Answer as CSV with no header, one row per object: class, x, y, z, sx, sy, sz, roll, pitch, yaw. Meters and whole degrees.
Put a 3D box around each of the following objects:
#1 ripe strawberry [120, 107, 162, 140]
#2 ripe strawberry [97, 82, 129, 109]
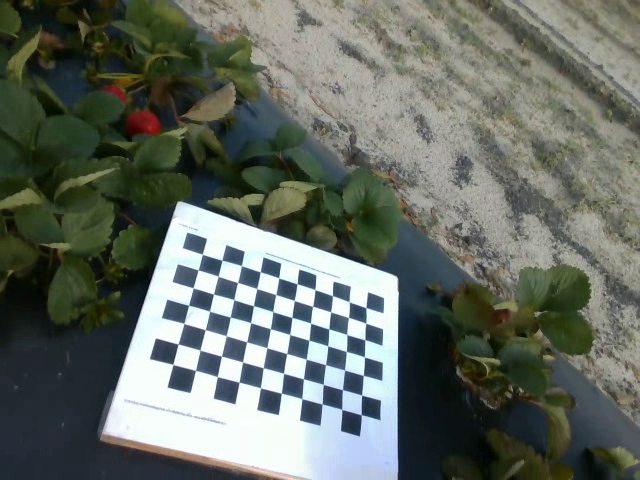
ripe strawberry,-0.257,-0.172,0.856,0.057,0.051,0.064,4,21,-29
ripe strawberry,-0.310,-0.206,0.861,0.048,0.041,0.056,31,22,-5
